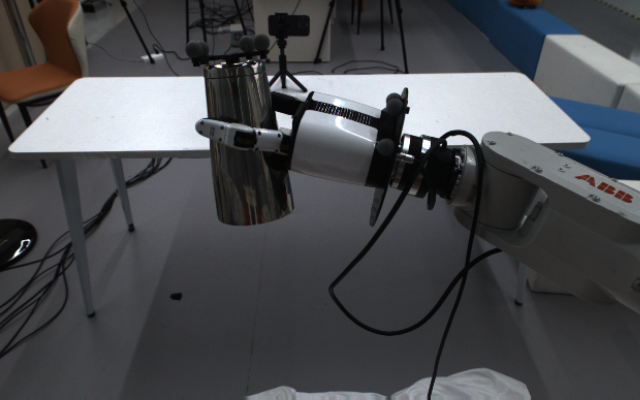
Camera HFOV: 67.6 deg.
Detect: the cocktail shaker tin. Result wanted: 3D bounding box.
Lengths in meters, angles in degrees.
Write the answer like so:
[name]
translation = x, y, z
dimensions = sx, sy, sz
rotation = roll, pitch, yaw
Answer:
[cocktail shaker tin]
translation = -0.084, -0.066, 0.547
dimensions = 0.093, 0.170, 0.093
rotation = -6, 19, 2
